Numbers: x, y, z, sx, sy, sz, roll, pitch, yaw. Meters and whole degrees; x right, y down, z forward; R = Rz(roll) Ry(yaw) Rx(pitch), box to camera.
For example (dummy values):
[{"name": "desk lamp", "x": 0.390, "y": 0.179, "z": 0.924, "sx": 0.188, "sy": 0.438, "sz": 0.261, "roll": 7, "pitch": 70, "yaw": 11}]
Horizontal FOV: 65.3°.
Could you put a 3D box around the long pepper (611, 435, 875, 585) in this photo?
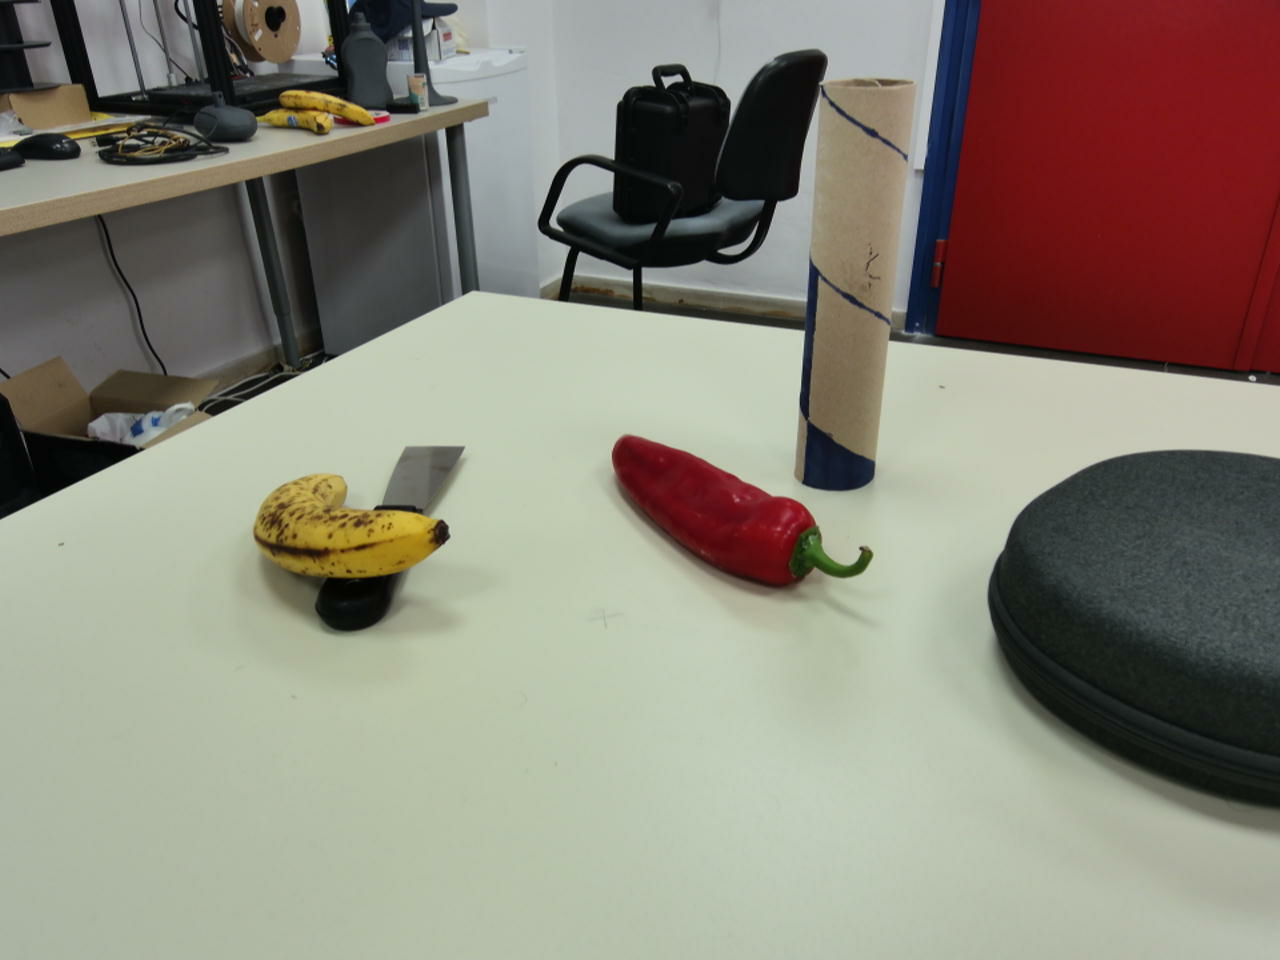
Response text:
[{"name": "long pepper", "x": 0.040, "y": 0.013, "z": 0.539, "sx": 0.050, "sy": 0.043, "sz": 0.211, "roll": -16, "pitch": 29, "yaw": -30}]
